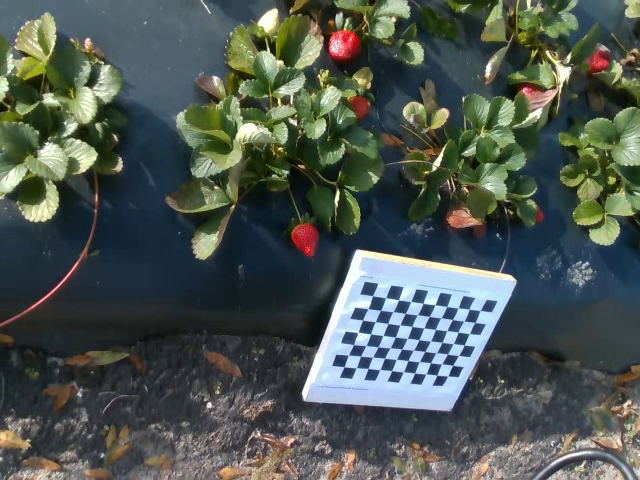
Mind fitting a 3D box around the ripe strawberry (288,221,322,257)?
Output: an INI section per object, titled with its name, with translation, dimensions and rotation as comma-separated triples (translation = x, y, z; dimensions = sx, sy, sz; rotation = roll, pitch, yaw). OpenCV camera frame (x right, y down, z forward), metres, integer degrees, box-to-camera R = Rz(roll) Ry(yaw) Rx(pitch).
[ripe strawberry]
translation = -0.015, 0.000, 0.727
dimensions = 0.041, 0.047, 0.041
rotation = -12, -26, -1
